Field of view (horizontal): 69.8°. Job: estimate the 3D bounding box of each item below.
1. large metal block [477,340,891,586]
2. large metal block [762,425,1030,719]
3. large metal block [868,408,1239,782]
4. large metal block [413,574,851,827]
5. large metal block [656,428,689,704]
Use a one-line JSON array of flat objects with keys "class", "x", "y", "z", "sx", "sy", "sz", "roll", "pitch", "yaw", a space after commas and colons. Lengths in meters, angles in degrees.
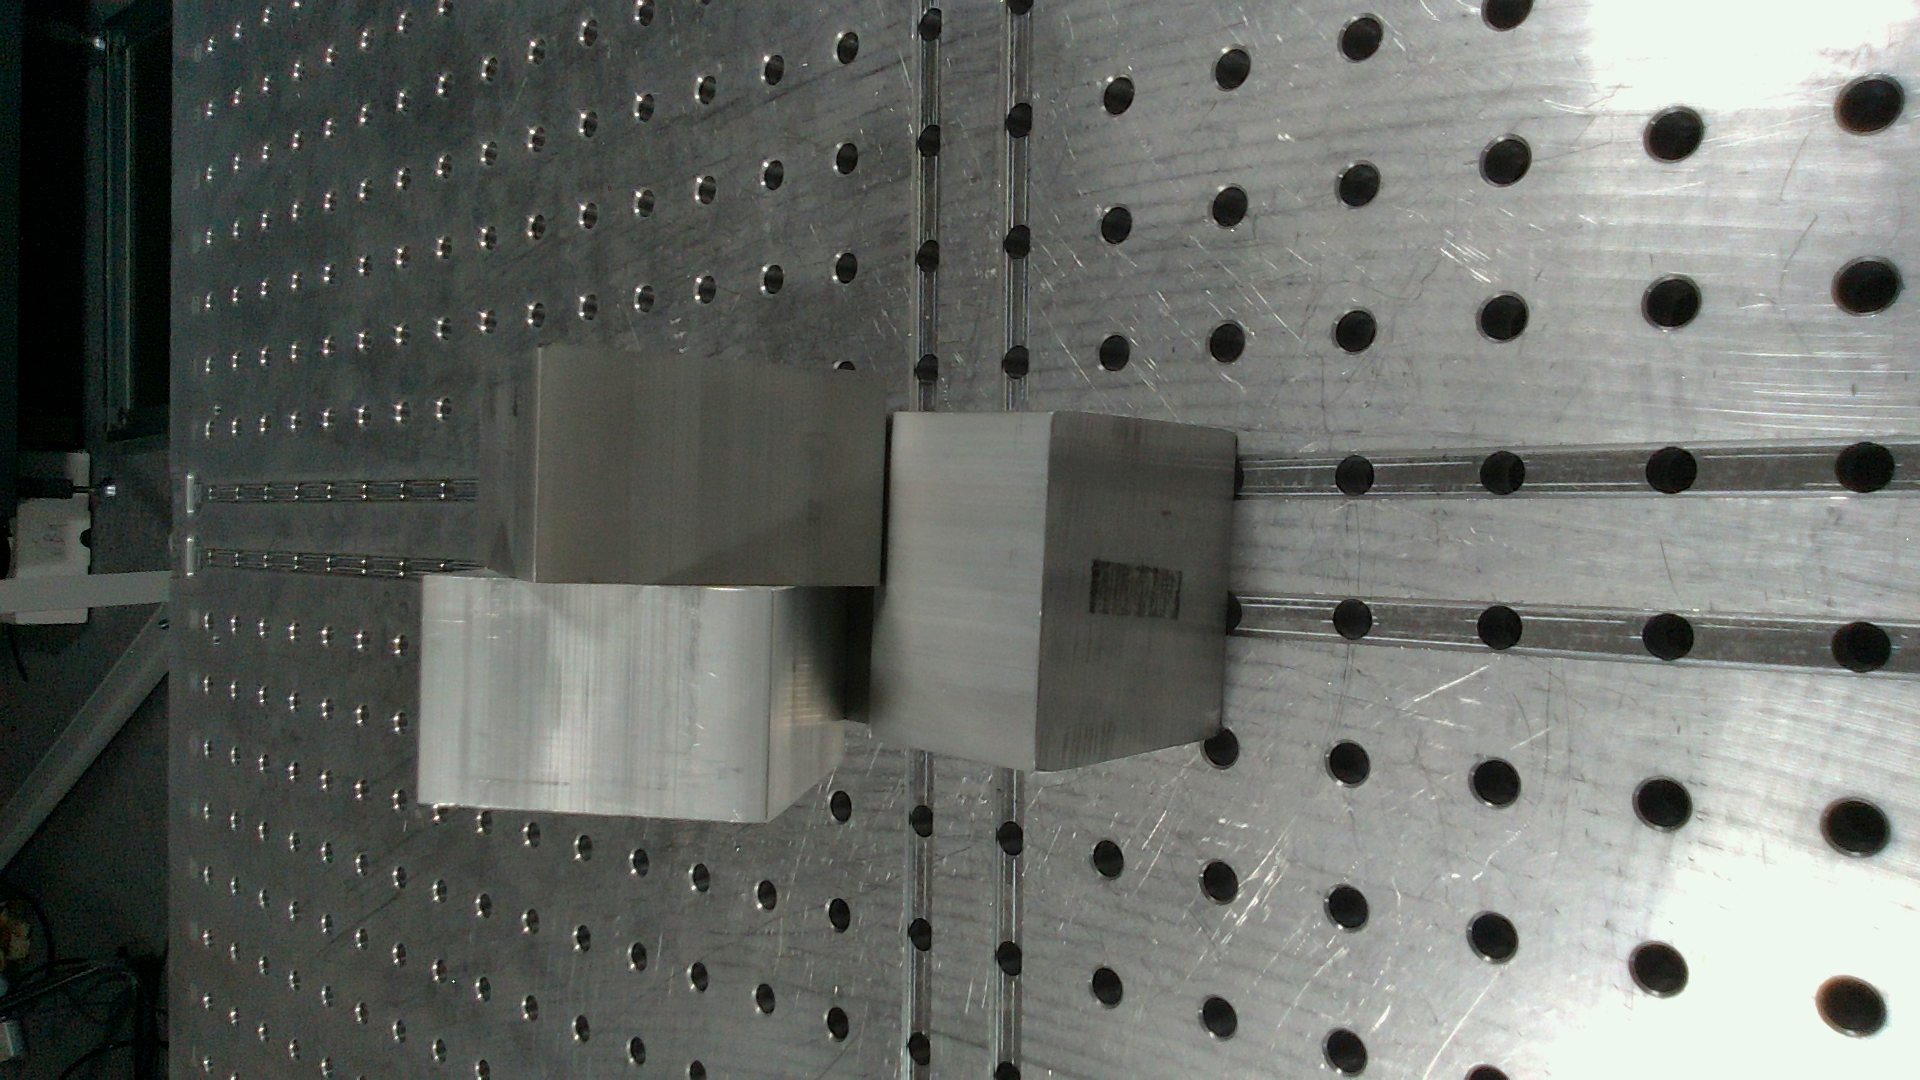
[{"class": "large metal block", "x": -0.071, "y": -0.017, "z": 0.338, "sx": 0.080, "sy": 0.080, "sz": 0.050, "roll": 5, "pitch": 93, "yaw": 63}, {"class": "large metal block", "x": -0.016, "y": 0.008, "z": 0.392, "sx": 0.080, "sy": 0.050, "sz": 0.080, "roll": 3, "pitch": 92, "yaw": 40}, {"class": "large metal block", "x": 0.025, "y": 0.010, "z": 0.340, "sx": 0.050, "sy": 0.080, "sz": 0.080, "roll": 5, "pitch": 93, "yaw": 40}, {"class": "large metal block", "x": -0.075, "y": 0.034, "z": 0.337, "sx": 0.080, "sy": 0.080, "sz": 0.050, "roll": 2, "pitch": 91, "yaw": 7}, {"class": "large metal block", "x": -0.075, "y": 0.008, "z": 0.425, "sx": 0.050, "sy": 0.080, "sz": 0.080, "roll": 2, "pitch": 92, "yaw": 40}]
